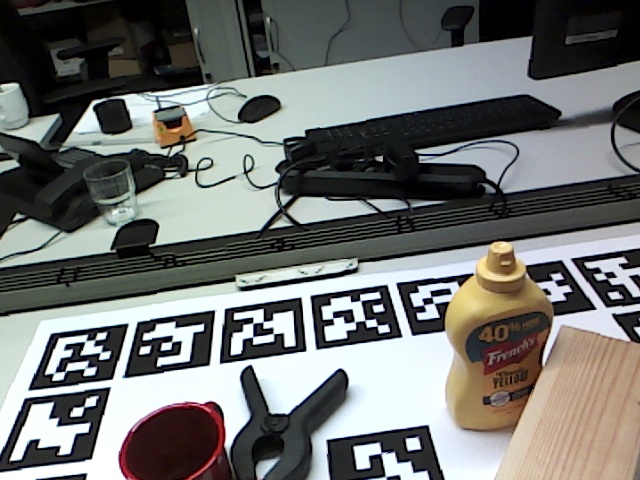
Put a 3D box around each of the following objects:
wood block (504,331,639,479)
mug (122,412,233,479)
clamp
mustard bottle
[{"bbox_3d":[0.218,0.180,0.507,0.090,0.090,0.205,12,36,31],"label":"wood block"},{"bbox_3d":[-0.119,0.216,0.572,0.093,0.081,0.117,4,37,18],"label":"mug"},{"bbox_3d":[-0.040,0.186,0.608,0.122,0.036,0.165,3,37,15],"label":"clamp"},{"bbox_3d":[0.161,0.085,0.565,0.096,0.191,0.059,-12,34,-4],"label":"mustard bottle"}]
